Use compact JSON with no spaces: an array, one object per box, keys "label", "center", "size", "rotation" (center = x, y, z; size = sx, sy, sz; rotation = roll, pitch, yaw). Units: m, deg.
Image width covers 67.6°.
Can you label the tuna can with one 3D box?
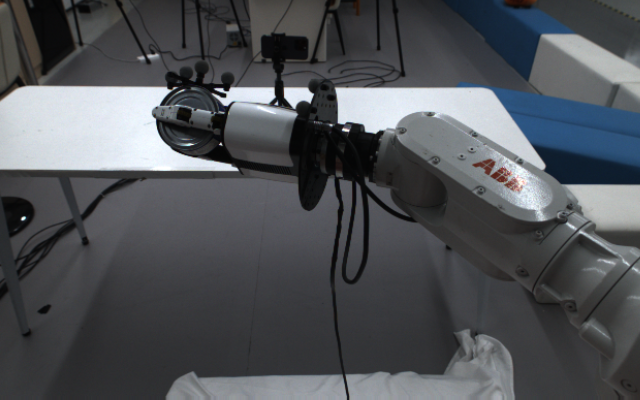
[{"label":"tuna can","center":[-0.164,-0.102,0.624],"size":[0.085,0.085,0.034],"rotation":[12,-6,13]}]
